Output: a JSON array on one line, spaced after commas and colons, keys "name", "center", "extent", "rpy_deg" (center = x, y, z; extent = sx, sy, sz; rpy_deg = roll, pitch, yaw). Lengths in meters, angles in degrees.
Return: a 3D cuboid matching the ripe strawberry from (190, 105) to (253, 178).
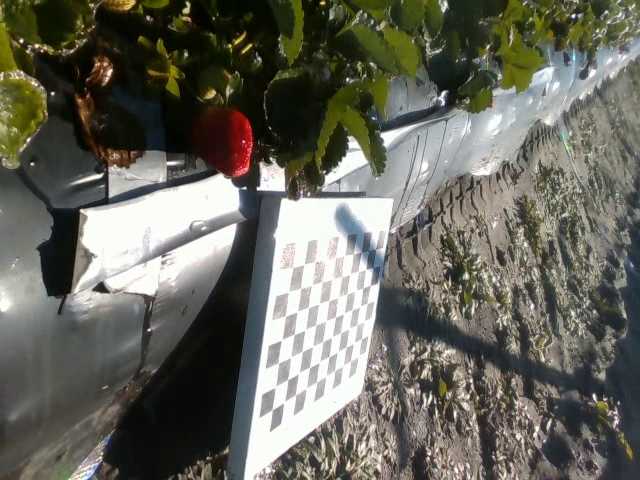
[{"name": "ripe strawberry", "center": [-0.073, -0.070, 0.463], "extent": [0.058, 0.065, 0.062], "rpy_deg": [-27, -32, 3]}]
